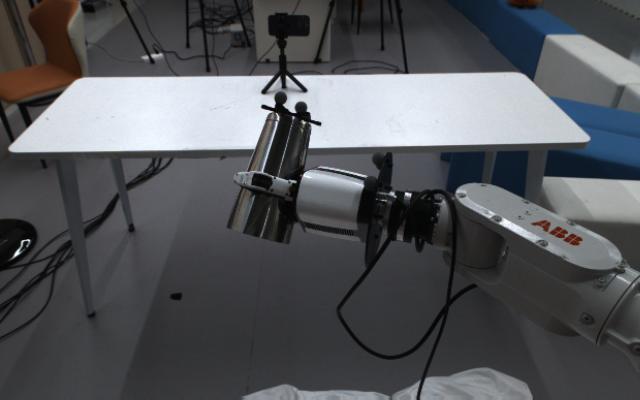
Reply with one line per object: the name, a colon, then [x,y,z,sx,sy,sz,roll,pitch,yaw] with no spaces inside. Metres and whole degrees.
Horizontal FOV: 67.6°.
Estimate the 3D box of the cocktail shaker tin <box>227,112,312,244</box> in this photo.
cocktail shaker tin: [-0.065,-0.031,0.683,0.093,0.170,0.093,15,-4,1]
